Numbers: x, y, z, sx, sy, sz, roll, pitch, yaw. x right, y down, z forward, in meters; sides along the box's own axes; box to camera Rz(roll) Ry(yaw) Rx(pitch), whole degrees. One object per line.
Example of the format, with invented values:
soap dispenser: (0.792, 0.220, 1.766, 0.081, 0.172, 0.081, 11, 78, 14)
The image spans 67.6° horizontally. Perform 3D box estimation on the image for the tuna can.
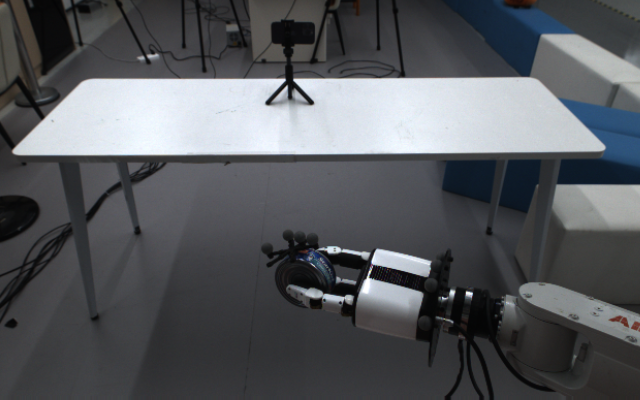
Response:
tuna can: (-0.018, 0.121, 0.702, 0.085, 0.085, 0.034, 15, 30, 18)
